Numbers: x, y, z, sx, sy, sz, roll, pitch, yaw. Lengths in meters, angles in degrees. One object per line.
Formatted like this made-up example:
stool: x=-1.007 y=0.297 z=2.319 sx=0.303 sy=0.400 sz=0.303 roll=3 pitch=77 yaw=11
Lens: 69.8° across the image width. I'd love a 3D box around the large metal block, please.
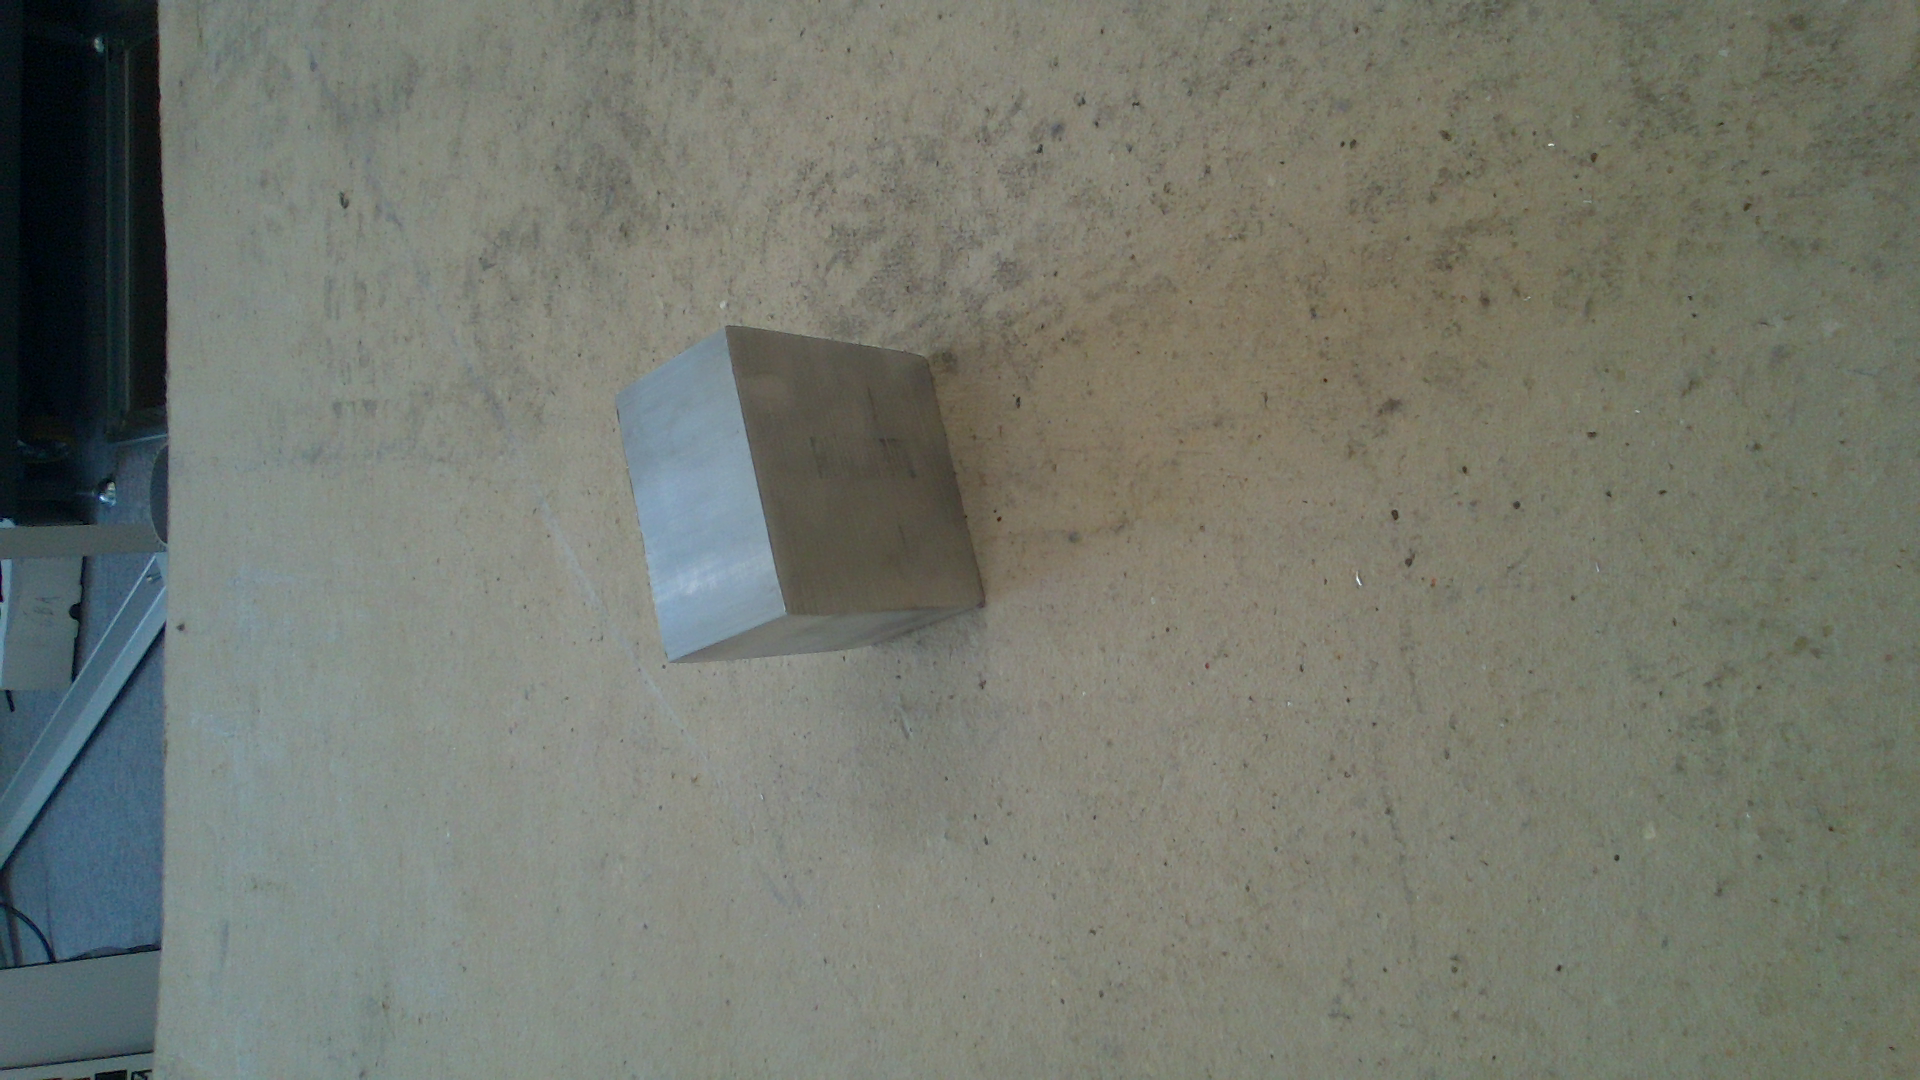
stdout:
large metal block: x=-0.046 y=-0.011 z=0.397 sx=0.050 sy=0.080 sz=0.080 roll=-22 pitch=76 yaw=38
